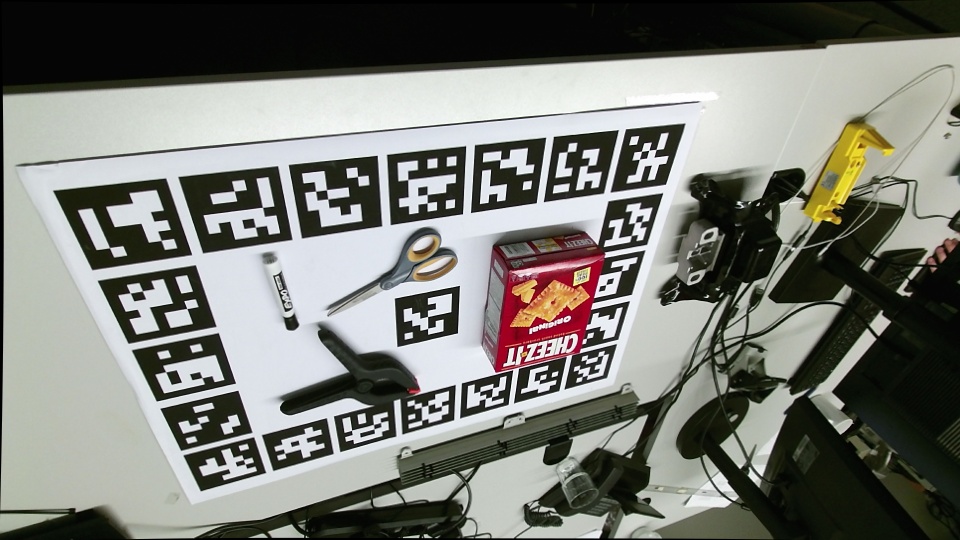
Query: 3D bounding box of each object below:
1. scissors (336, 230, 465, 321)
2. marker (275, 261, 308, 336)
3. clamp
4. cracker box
[{"bbox_3d":[-0.115,0.020,0.758,0.203,0.016,0.088,-32,134,2],"label":"scissors"},{"bbox_3d":[-0.248,0.042,0.707,0.020,0.019,0.121,-14,131,-17],"label":"marker"},{"bbox_3d":[-0.175,0.176,0.857,0.204,0.036,0.165,18,117,-35],"label":"clamp"},{"bbox_3d":[0.106,0.057,0.864,0.165,0.072,0.213,-10,129,-20],"label":"cracker box"}]
